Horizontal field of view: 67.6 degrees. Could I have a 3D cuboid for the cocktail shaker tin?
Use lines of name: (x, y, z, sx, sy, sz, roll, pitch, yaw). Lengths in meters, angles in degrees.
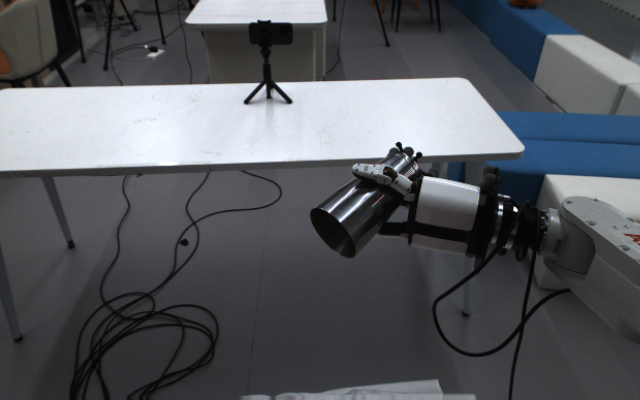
cocktail shaker tin: (0.077, -0.005, 0.735, 0.170, 0.093, 0.093, -39, 50, -24)
